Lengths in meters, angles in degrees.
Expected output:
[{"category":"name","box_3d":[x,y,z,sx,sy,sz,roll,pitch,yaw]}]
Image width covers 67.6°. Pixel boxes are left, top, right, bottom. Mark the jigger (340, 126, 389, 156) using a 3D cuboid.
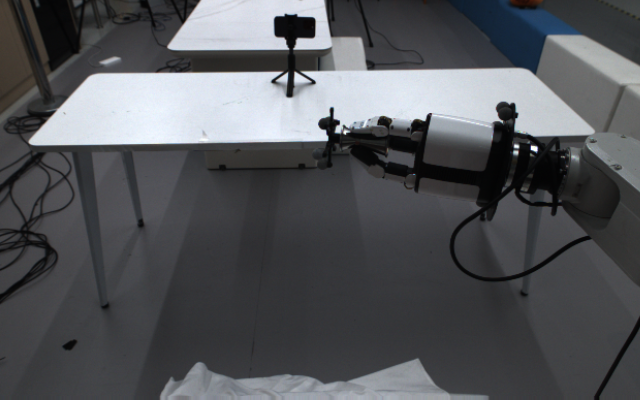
[{"category":"jigger","box_3d":[0.071,-0.090,0.700,0.071,0.043,0.043,6,35,11]}]
